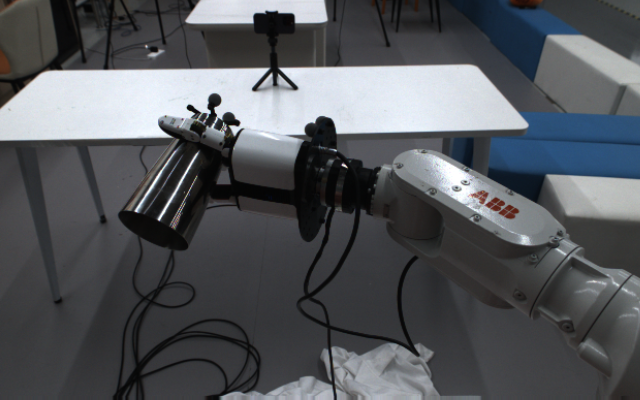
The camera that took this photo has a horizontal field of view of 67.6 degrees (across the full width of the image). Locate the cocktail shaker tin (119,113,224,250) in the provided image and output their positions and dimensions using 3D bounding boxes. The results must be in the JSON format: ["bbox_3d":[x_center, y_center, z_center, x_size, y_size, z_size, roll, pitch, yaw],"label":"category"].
[{"bbox_3d":[-0.177,-0.032,0.632,0.093,0.093,0.170,13,59,16],"label":"cocktail shaker tin"}]
